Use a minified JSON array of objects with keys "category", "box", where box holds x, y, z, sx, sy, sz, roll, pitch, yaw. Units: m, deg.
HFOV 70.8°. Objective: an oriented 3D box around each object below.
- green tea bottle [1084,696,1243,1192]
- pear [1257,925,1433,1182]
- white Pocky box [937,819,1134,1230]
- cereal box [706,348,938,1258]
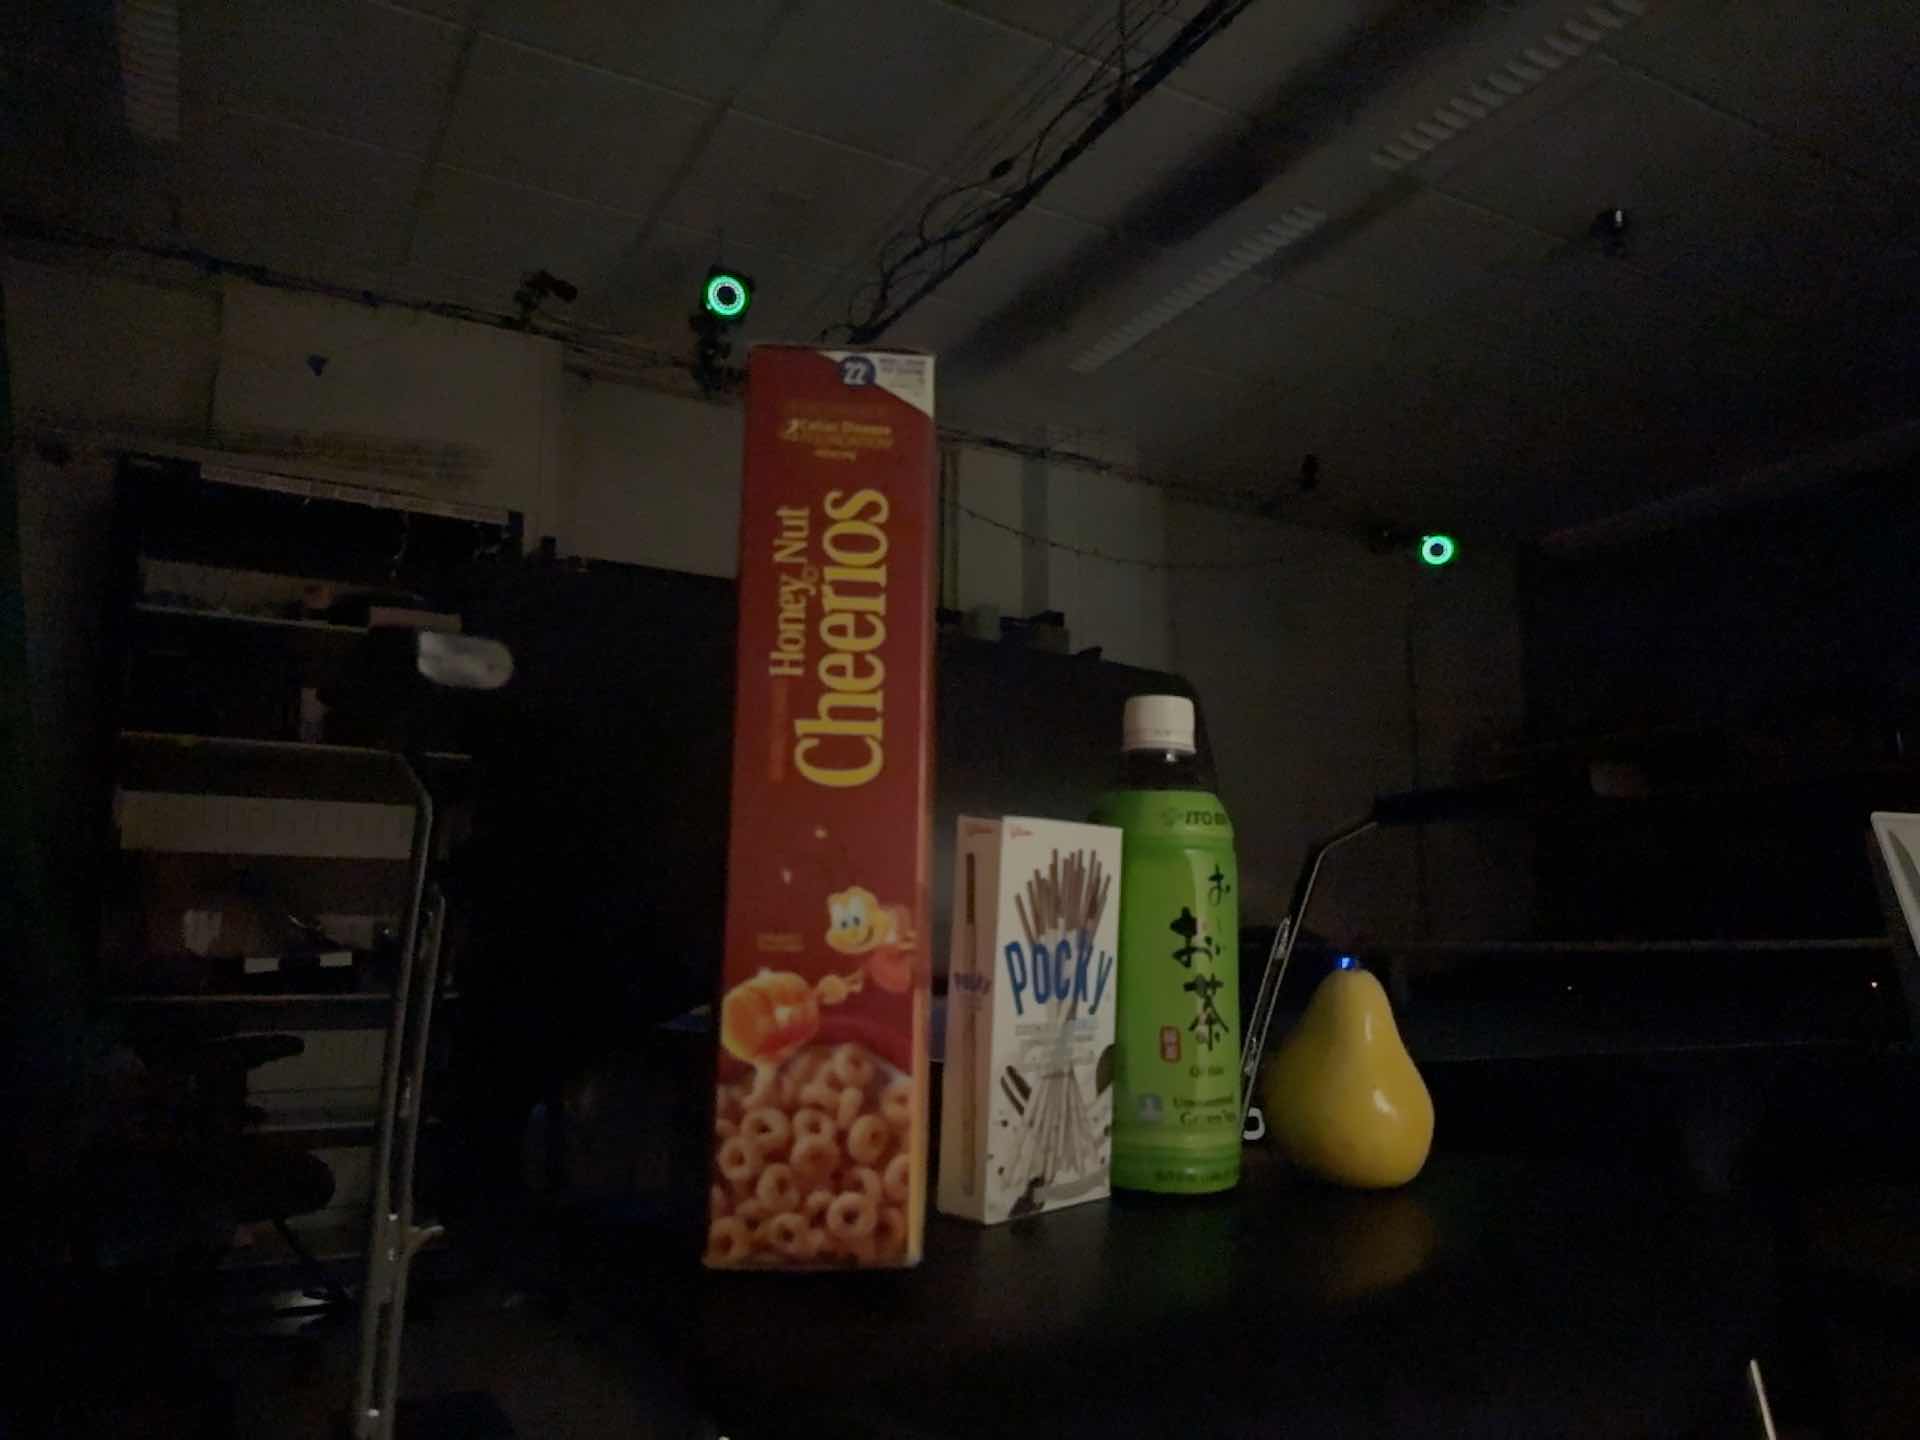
[{"category":"green tea bottle","box":[0.087,0.095,0.602,0.073,0.212,0.073,-2,-6,0]},{"category":"pear","box":[0.172,0.151,0.619,0.080,0.111,0.080,-4,-10,-1]},{"category":"white Pocky box","box":[0.031,0.118,0.545,0.028,0.154,0.084,1,-5,43]},{"category":"cereal box","box":[-0.055,0.034,0.543,0.065,0.297,0.195,3,-10,-7]}]
